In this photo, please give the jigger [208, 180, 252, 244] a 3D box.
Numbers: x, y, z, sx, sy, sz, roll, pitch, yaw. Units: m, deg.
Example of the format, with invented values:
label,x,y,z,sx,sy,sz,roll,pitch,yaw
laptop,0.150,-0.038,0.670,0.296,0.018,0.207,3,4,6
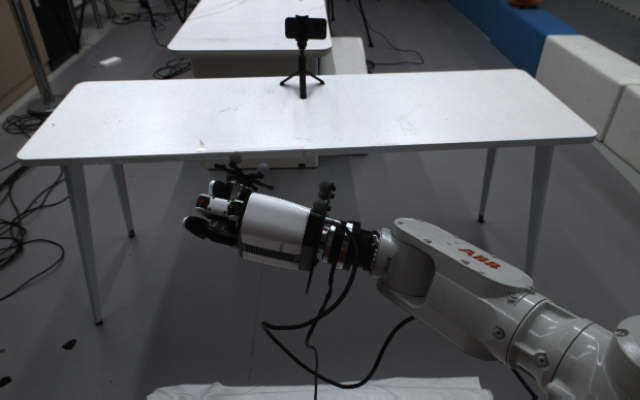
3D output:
label,x,y,z,sx,sy,sz,roll,pitch,yaw
jigger,-0.123,0.011,0.667,0.043,0.043,0.071,15,70,18
